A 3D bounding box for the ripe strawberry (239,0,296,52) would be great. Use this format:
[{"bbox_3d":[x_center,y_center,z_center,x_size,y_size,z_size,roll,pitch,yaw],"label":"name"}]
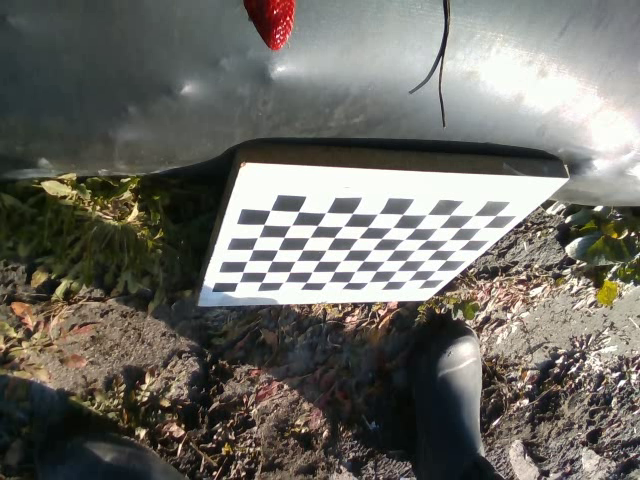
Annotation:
[{"bbox_3d":[-0.023,-0.101,0.271,0.028,0.041,0.031,-10,7,4],"label":"ripe strawberry"}]
